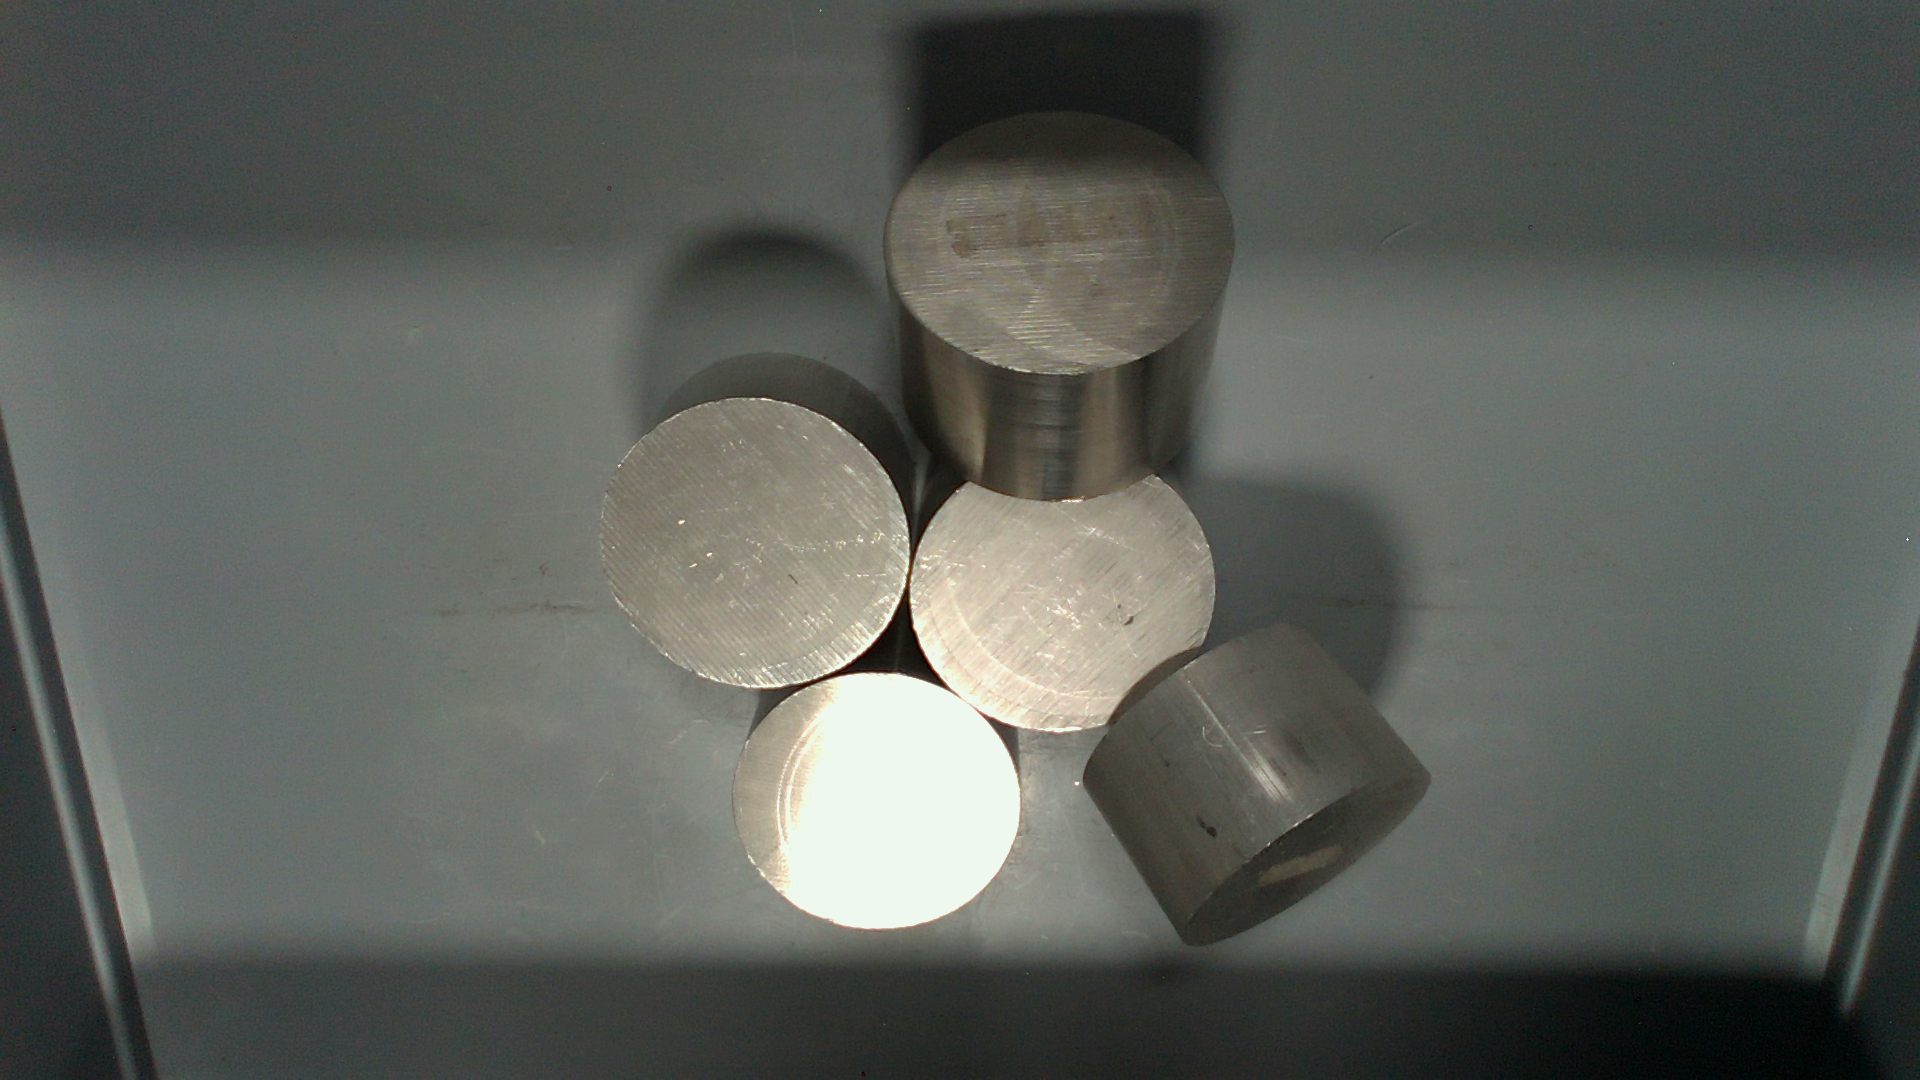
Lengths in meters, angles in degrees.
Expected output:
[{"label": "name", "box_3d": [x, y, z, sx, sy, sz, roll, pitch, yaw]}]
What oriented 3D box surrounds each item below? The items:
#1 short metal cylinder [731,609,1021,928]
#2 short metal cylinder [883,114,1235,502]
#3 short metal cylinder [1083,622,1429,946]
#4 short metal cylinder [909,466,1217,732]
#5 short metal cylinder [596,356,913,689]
[{"label": "short metal cylinder", "box_3d": [-0.023, 0.065, 0.403, 0.080, 0.050, 0.080, 0, 110, 0]}, {"label": "short metal cylinder", "box_3d": [0.023, -0.057, 0.335, 0.080, 0.080, 0.050, -3, 149, 1]}, {"label": "short metal cylinder", "box_3d": [0.081, 0.068, 0.383, 0.080, 0.050, 0.080, -25, 149, -16]}, {"label": "short metal cylinder", "box_3d": [0.027, 0.006, 0.381, 0.080, 0.050, 0.080, 0, 110, 0]}, {"label": "short metal cylinder", "box_3d": [-0.053, -0.006, 0.376, 0.080, 0.050, 0.080, 0, 110, 0]}]
